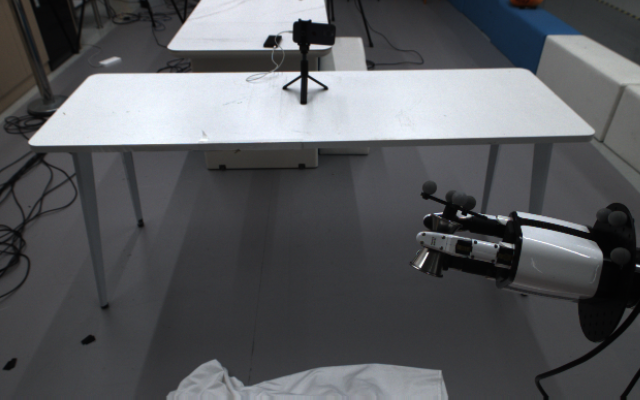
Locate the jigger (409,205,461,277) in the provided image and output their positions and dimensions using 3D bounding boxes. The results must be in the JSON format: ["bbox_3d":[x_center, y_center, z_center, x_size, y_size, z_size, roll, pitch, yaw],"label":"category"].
[{"bbox_3d":[0.140,0.053,0.586,0.043,0.071,0.043,22,5,-2],"label":"jigger"}]
